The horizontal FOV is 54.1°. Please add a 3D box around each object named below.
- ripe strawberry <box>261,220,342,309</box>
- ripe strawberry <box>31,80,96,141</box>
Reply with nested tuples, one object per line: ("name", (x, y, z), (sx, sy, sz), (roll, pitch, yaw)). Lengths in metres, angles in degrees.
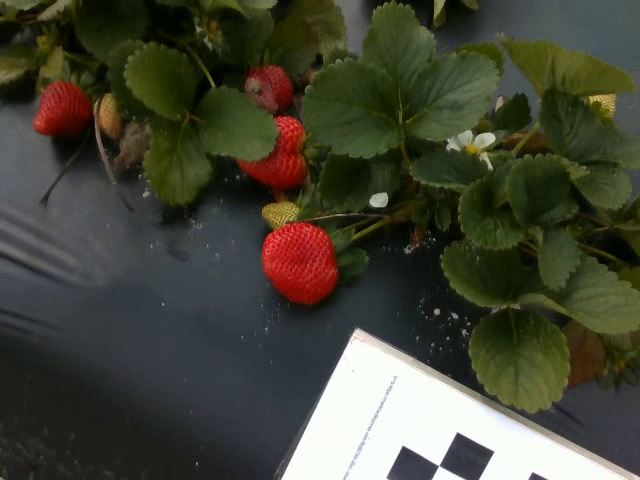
("ripe strawberry", (-0.018, 0.015, 0.398), (0.057, 0.056, 0.064), (-12, 0, 27))
("ripe strawberry", (-0.182, -0.092, 0.436), (0.043, 0.041, 0.052), (9, 47, 14))
